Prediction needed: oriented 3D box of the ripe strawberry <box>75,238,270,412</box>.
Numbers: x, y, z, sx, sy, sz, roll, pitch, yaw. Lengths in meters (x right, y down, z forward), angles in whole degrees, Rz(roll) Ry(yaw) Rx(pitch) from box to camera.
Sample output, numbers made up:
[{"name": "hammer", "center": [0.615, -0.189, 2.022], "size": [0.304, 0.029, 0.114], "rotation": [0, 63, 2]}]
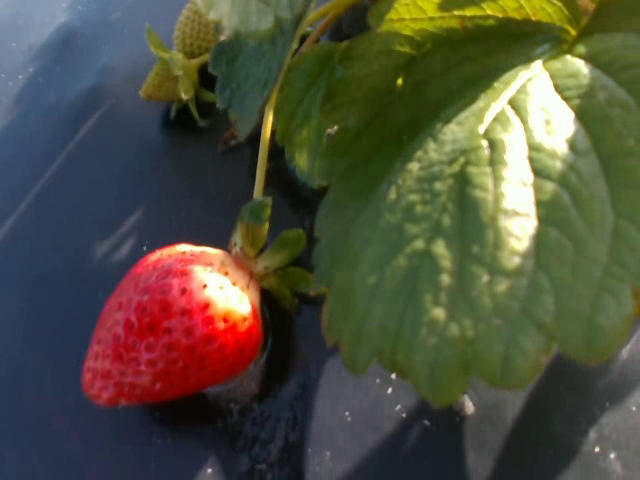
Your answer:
[{"name": "ripe strawberry", "center": [-0.030, 0.020, 0.116], "size": [0.045, 0.033, 0.030], "rotation": [-37, 20, -8]}]
